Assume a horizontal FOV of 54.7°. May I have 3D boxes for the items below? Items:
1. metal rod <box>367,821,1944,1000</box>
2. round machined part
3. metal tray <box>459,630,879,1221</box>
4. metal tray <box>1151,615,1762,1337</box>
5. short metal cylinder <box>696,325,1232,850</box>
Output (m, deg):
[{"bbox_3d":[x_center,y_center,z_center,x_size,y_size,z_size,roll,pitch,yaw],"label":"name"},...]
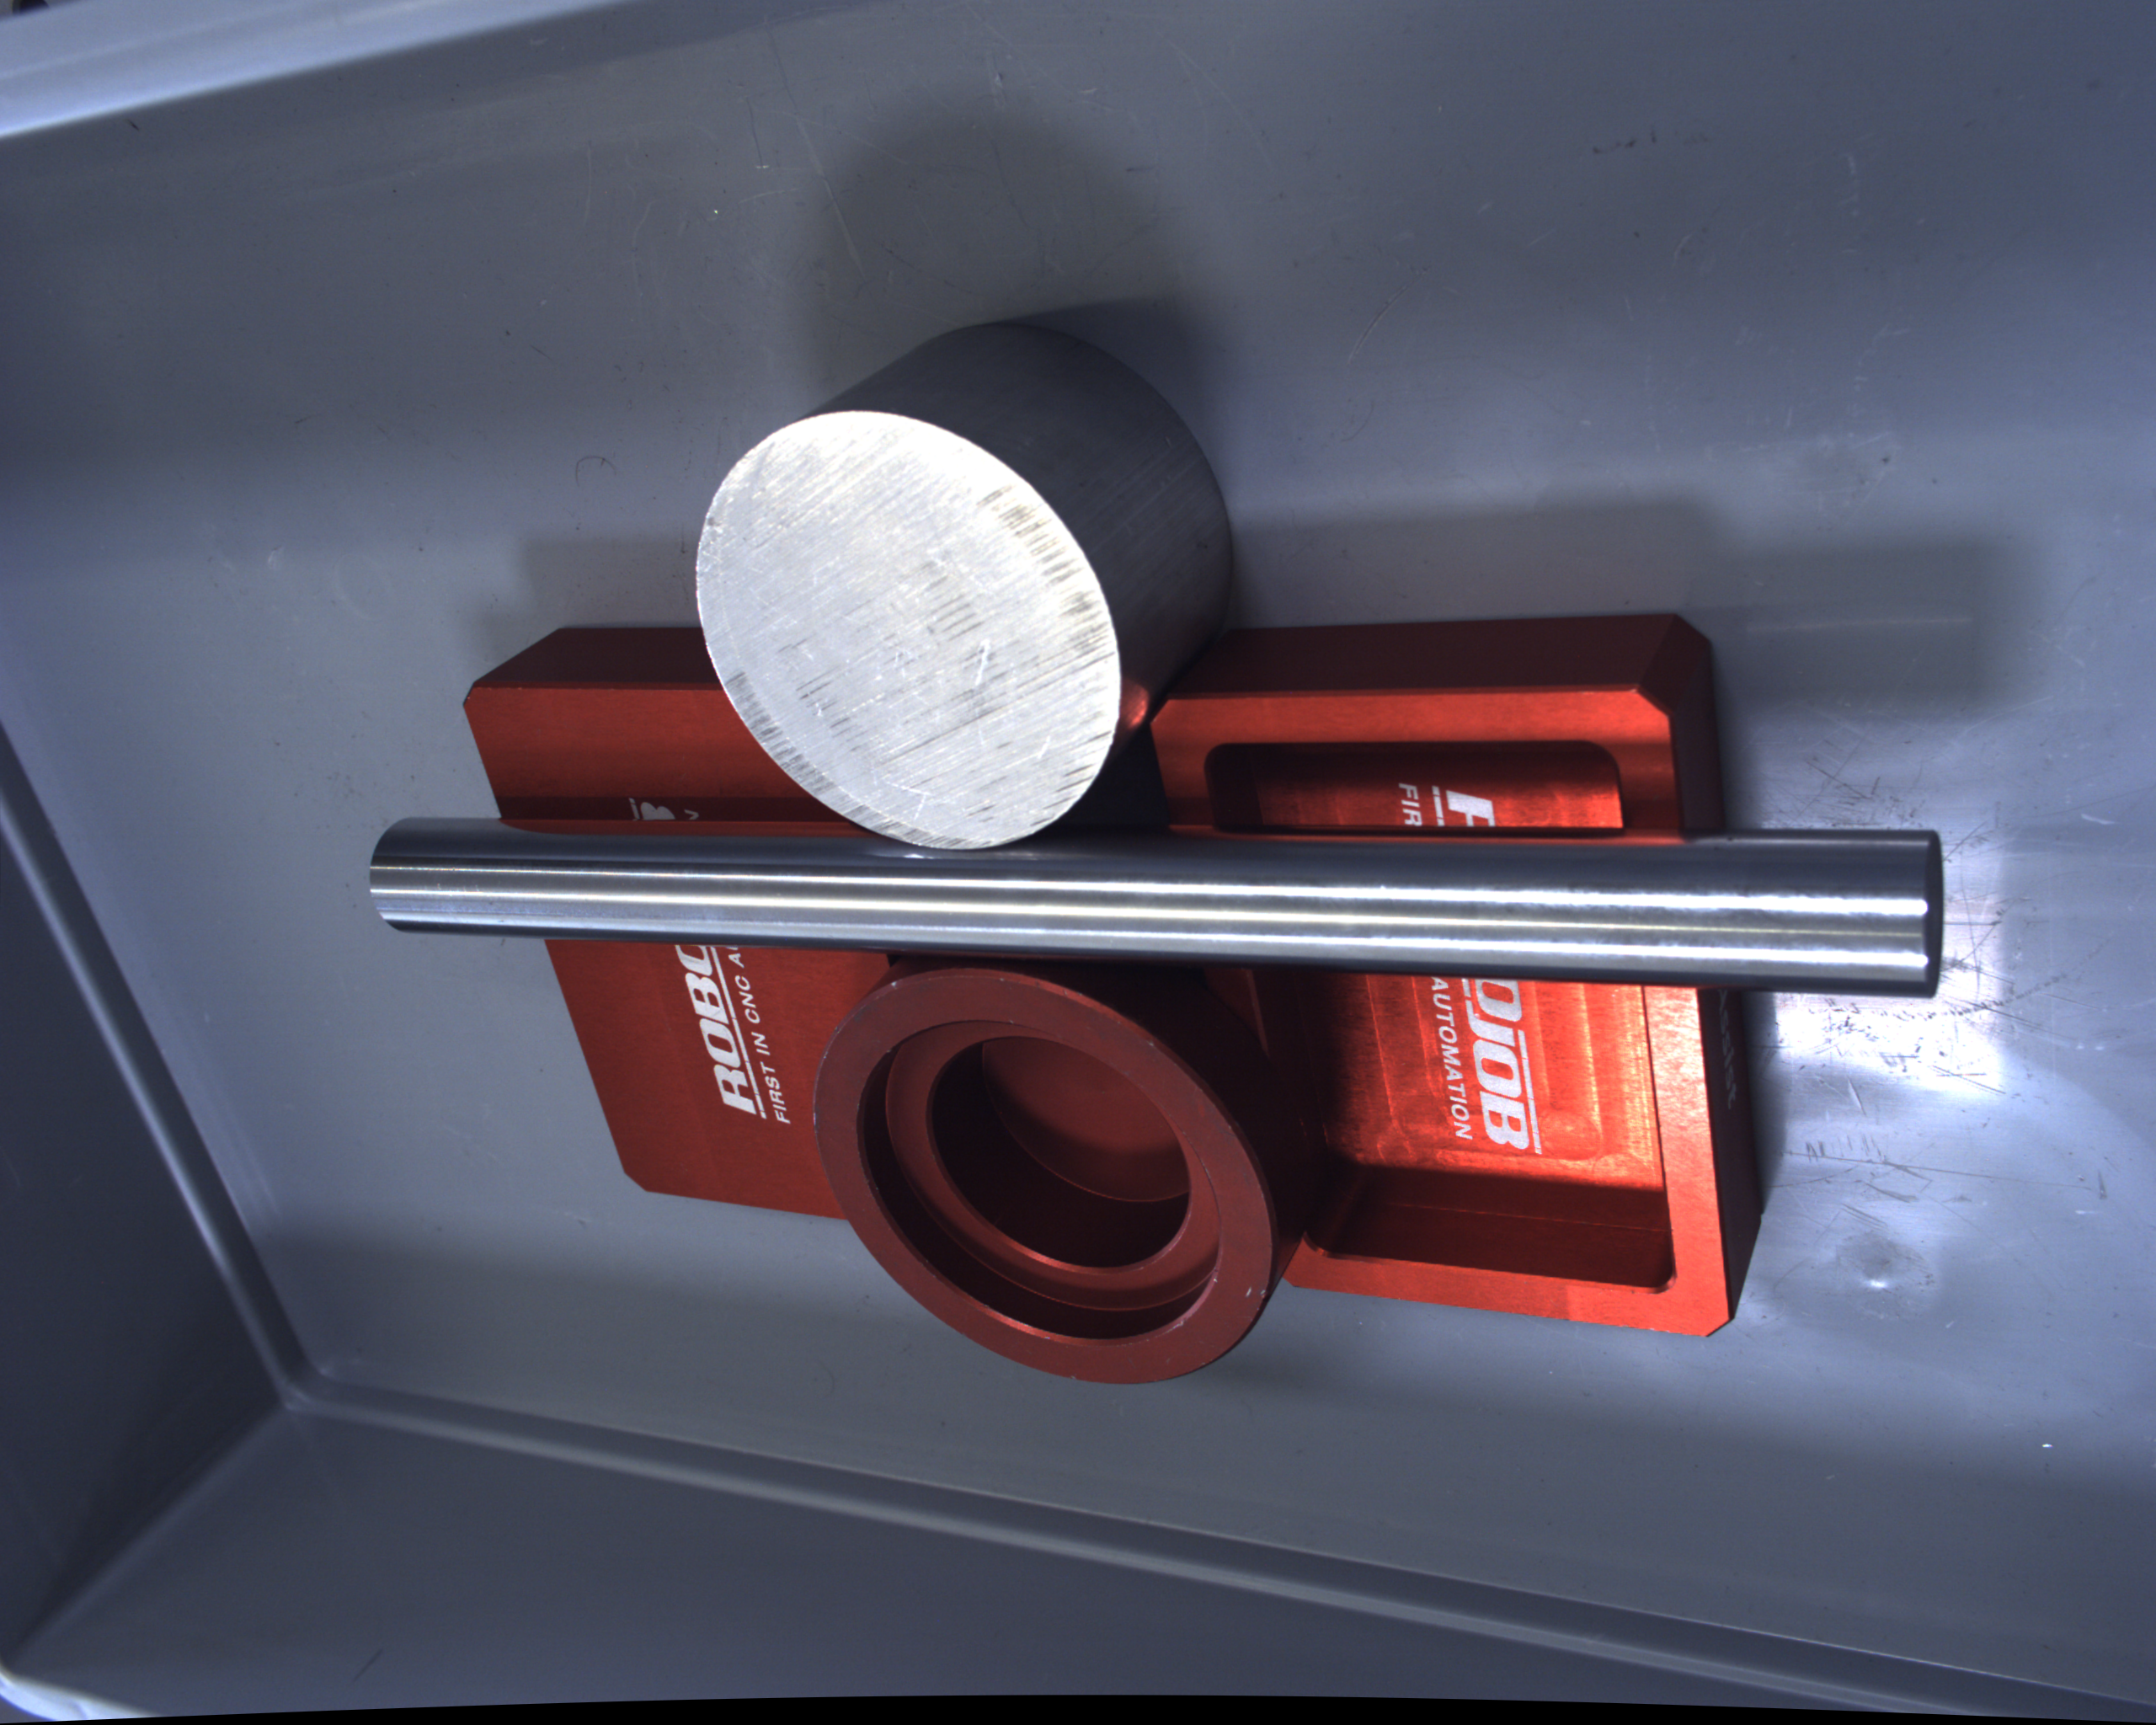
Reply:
[{"bbox_3d":[-0.008,0.006,0.374,0.300,0.025,0.025,1,119,27],"label":"metal rod"},{"bbox_3d":[0.000,0.053,0.416,0.098,0.042,0.097,13,124,21],"label":"round machined part"},{"bbox_3d":[-0.071,0.015,0.448,0.090,0.030,0.129,3,120,27],"label":"metal tray"},{"bbox_3d":[0.071,0.022,0.379,0.090,0.030,0.129,1,119,27],"label":"metal tray"},{"bbox_3d":[-0.019,-0.049,0.370,0.080,0.050,0.079,13,124,21],"label":"short metal cylinder"}]
